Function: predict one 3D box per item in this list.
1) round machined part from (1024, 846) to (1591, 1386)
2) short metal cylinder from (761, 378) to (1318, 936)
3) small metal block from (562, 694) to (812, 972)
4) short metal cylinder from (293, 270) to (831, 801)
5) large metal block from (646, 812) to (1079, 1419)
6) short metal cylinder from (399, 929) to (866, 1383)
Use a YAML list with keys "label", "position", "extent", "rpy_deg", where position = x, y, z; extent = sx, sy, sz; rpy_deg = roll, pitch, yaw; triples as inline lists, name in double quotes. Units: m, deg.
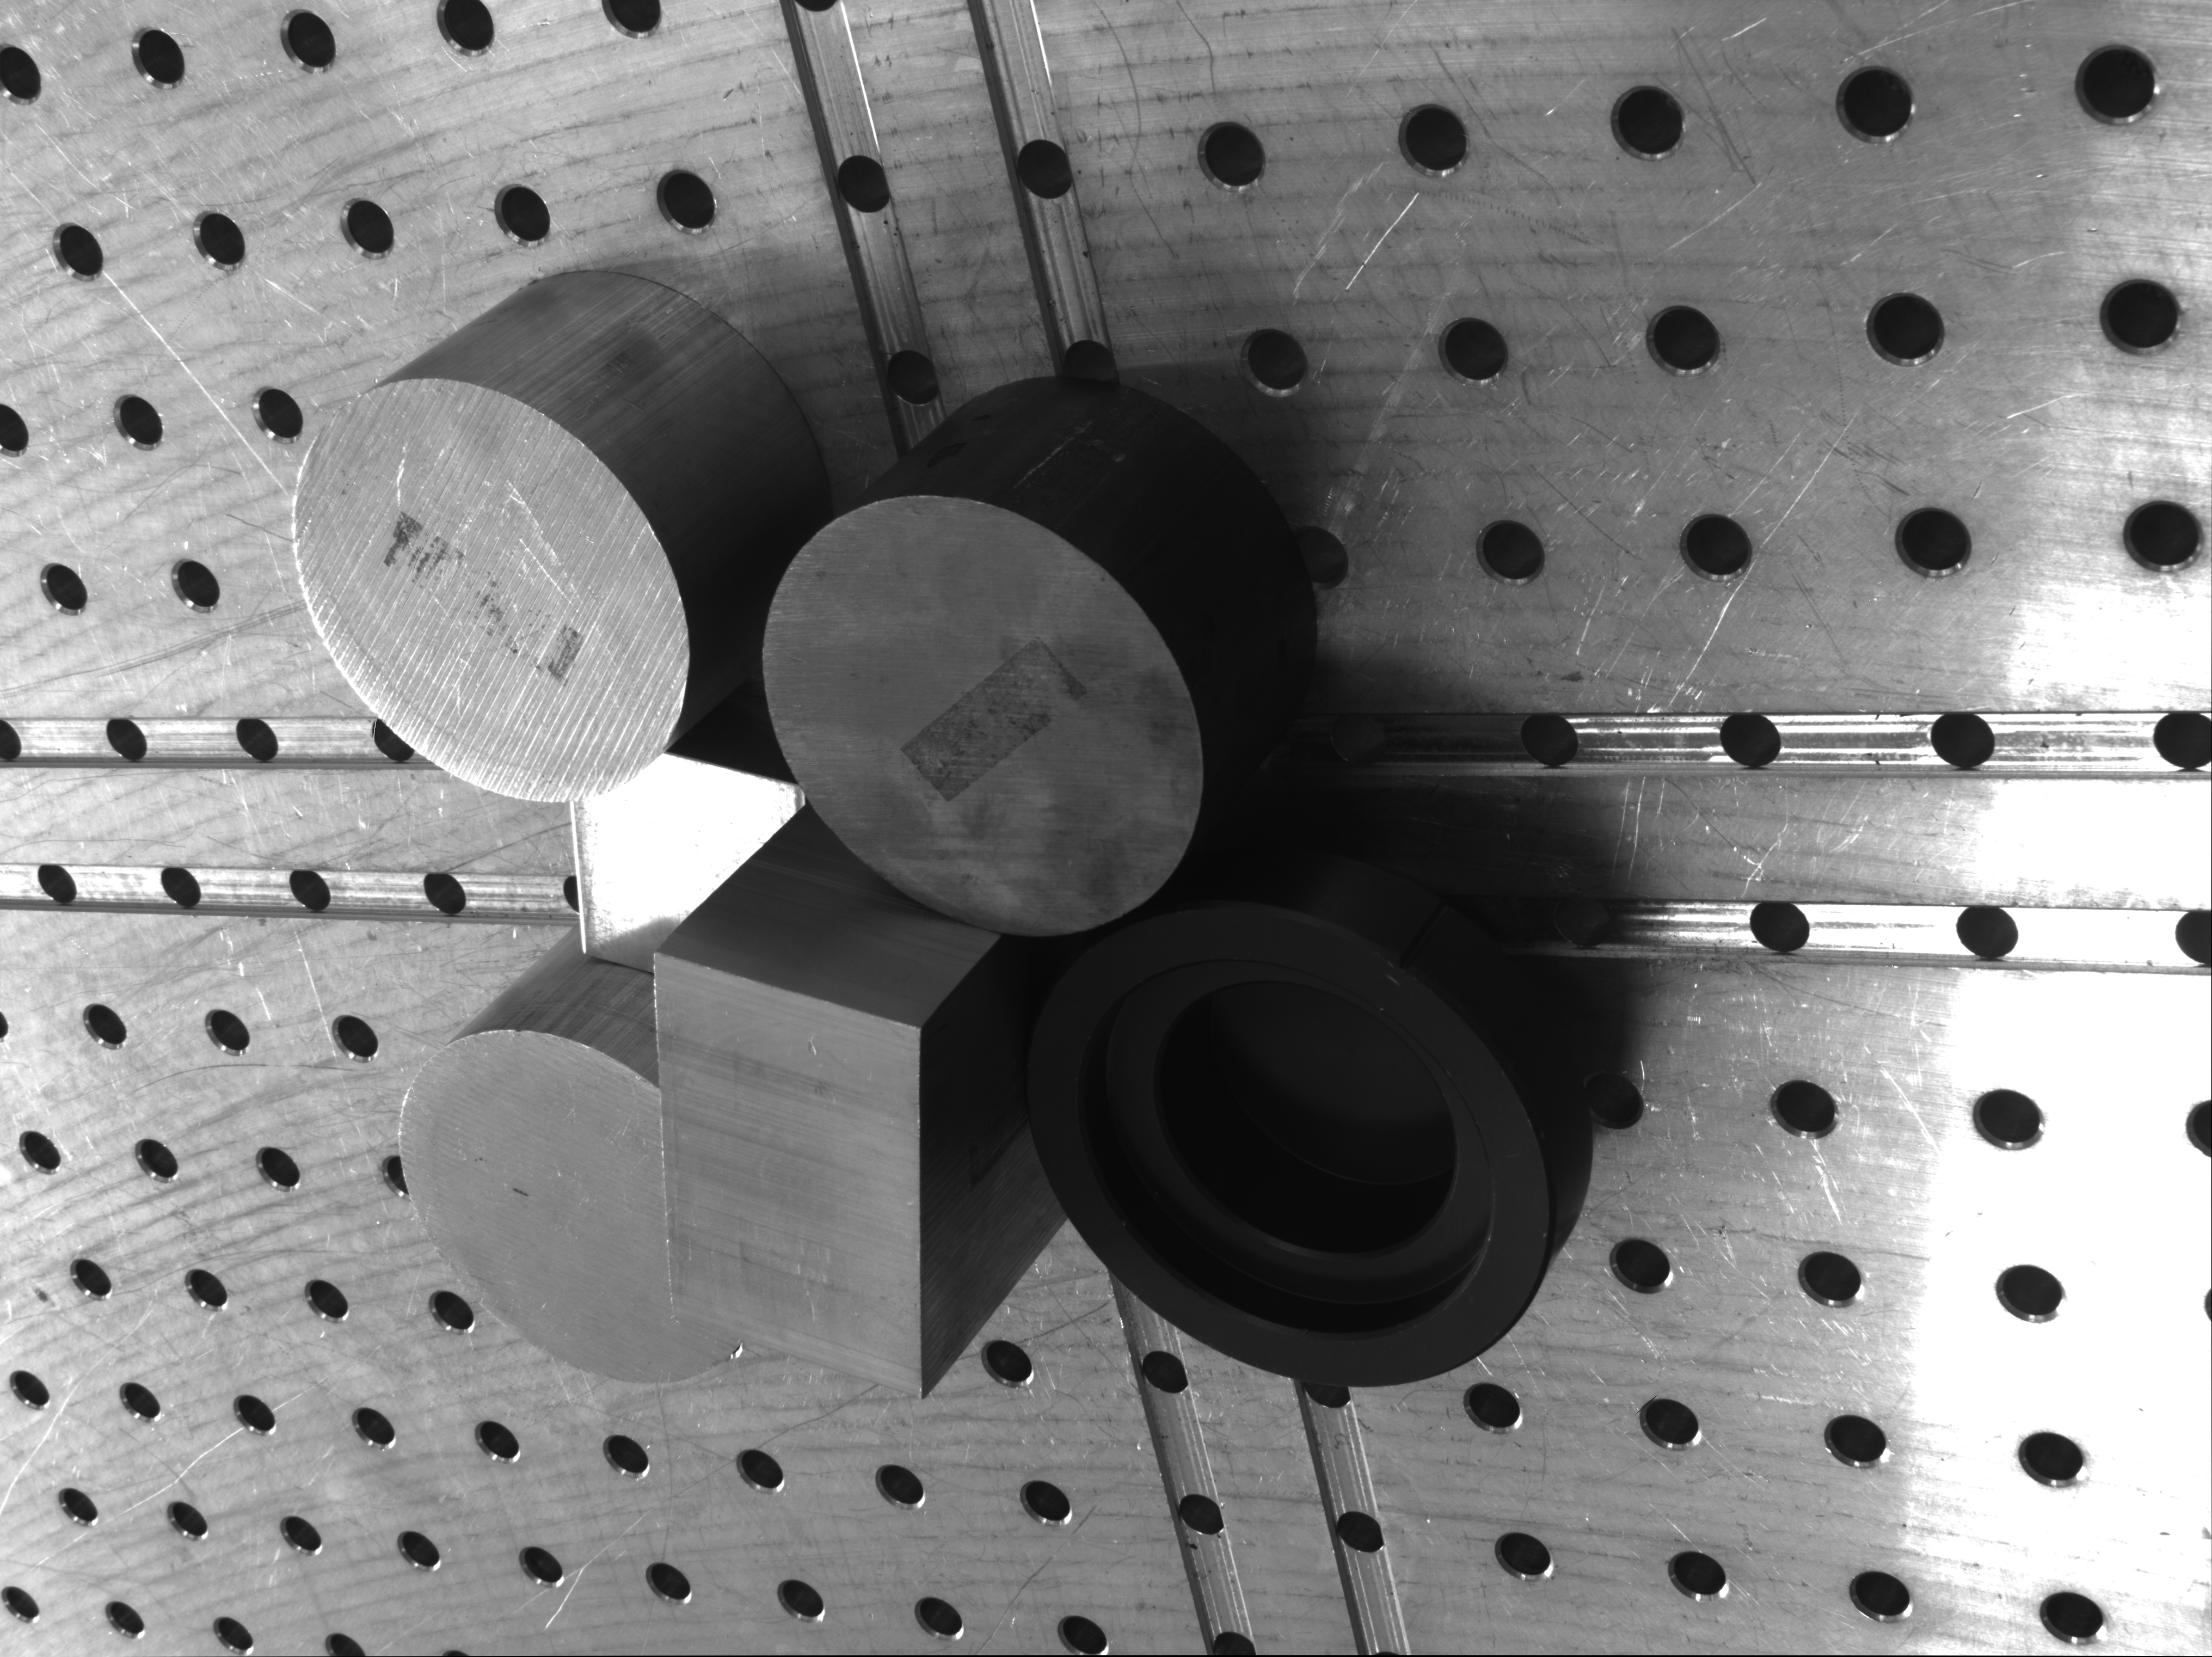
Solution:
- label: "round machined part"
  position: [0.039, 0.046, 0.642]
  extent: [0.098, 0.042, 0.098]
  rpy_deg: [13, 124, 21]
- label: "short metal cylinder"
  position: [-0.011, -0.029, 0.617]
  extent: [0.080, 0.050, 0.080]
  rpy_deg: [13, 124, 21]
- label: "small metal block"
  position: [-0.072, 0.002, 0.685]
  extent: [0.050, 0.025, 0.050]
  rpy_deg: [14, 124, 21]
- label: "short metal cylinder"
  position: [-0.096, -0.052, 0.648]
  extent: [0.080, 0.050, 0.080]
  rpy_deg: [13, 124, 21]
- label: "large metal block"
  position: [-0.038, 0.043, 0.653]
  extent: [0.050, 0.080, 0.080]
  rpy_deg: [15, 124, 20]
- label: "short metal cylinder"
  position: [-0.090, 0.060, 0.714]
  extent: [0.080, 0.050, 0.080]
  rpy_deg: [13, 124, 21]
